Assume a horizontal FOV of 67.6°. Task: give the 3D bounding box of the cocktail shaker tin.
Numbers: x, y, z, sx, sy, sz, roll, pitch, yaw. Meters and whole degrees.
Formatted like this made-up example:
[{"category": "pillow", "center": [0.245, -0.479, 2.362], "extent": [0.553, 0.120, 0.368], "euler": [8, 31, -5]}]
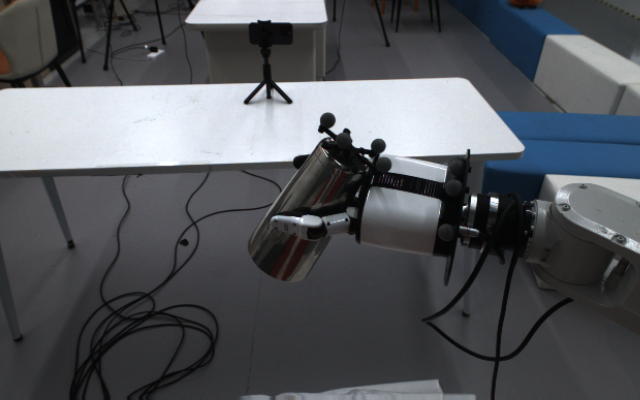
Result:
[{"category": "cocktail shaker tin", "center": [-0.011, 0.006, 0.592], "extent": [0.093, 0.170, 0.093], "euler": [26, 32, -18]}]
